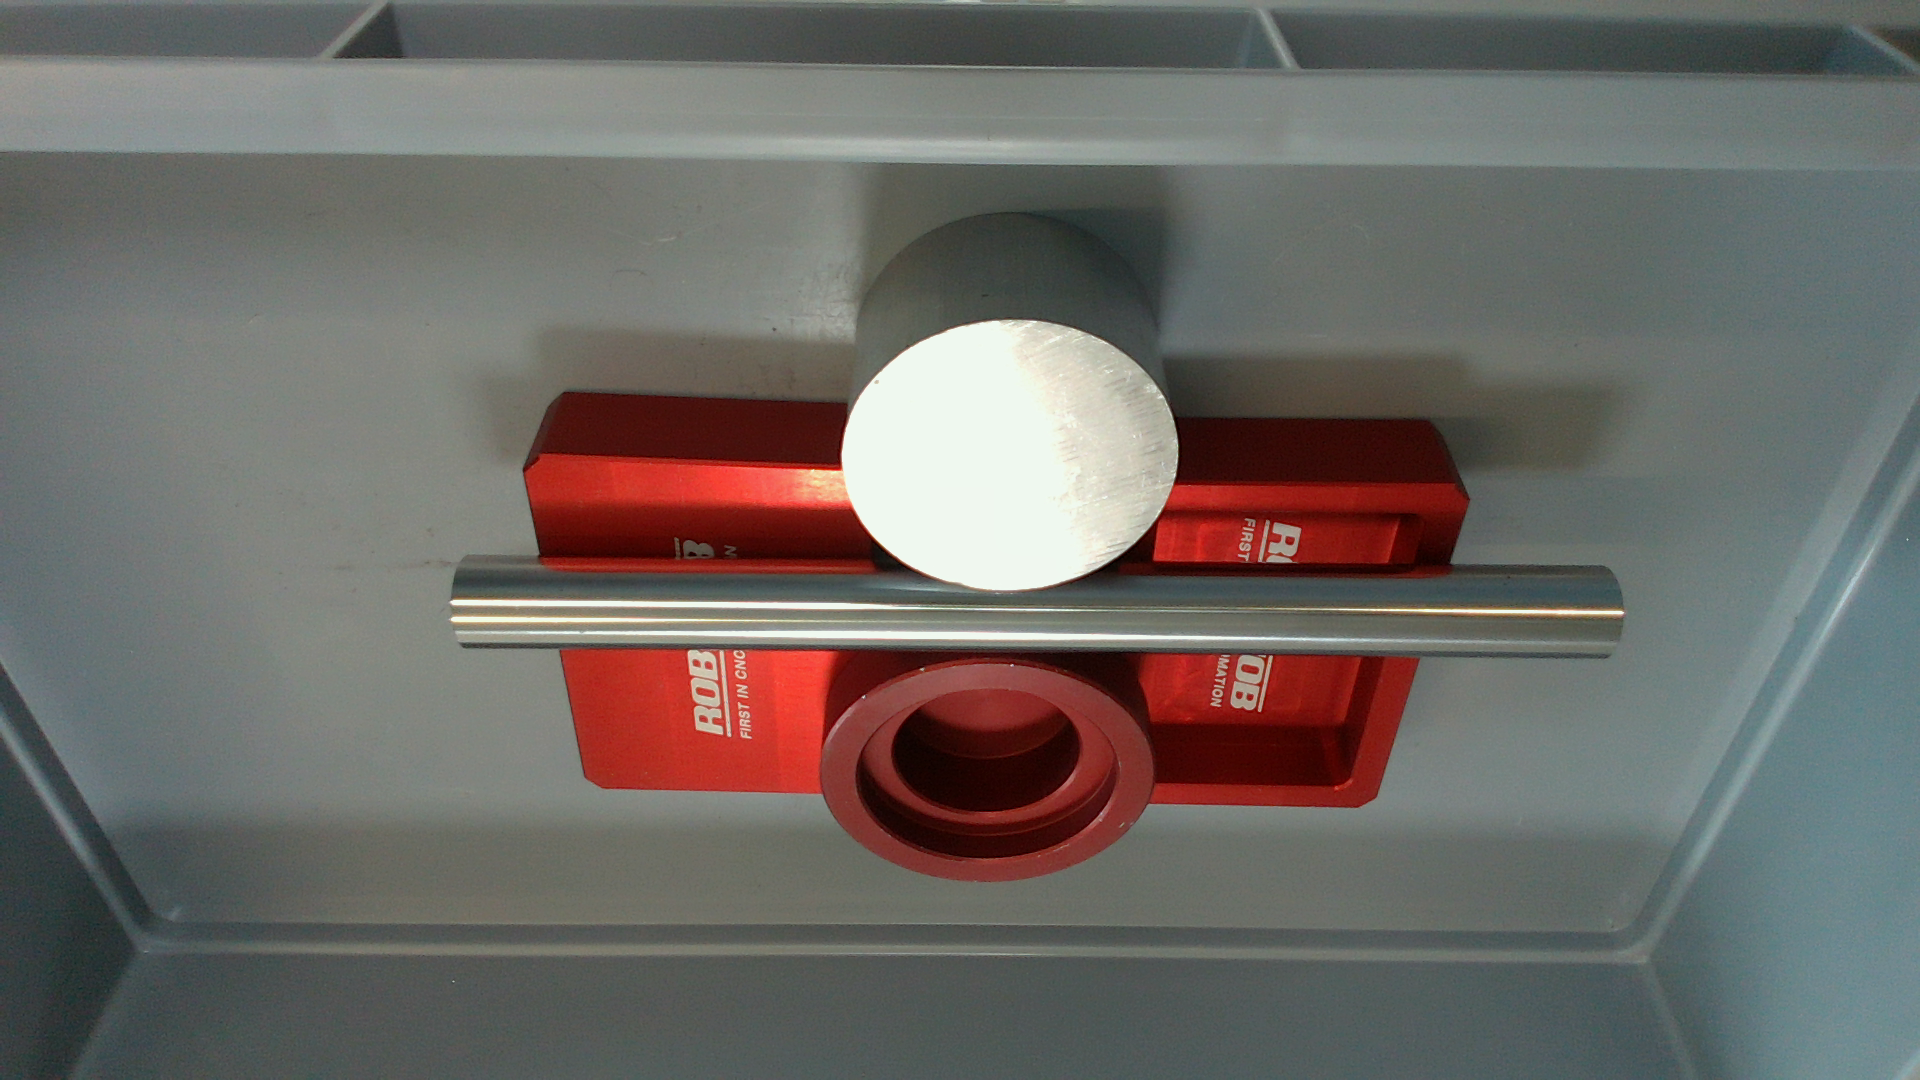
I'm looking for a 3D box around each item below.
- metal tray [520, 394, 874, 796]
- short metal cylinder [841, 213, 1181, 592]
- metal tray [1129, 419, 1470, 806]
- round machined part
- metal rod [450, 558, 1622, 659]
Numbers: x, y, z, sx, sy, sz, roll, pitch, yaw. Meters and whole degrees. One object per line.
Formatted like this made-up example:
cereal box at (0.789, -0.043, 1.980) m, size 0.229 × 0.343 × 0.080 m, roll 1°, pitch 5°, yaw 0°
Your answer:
metal tray at (-0.070, 0.021, 0.401) m, size 0.090 × 0.030 × 0.130 m, roll 2°, pitch 130°, yaw -2°
short metal cylinder at (0.012, -0.034, 0.344) m, size 0.080 × 0.050 × 0.080 m, roll 0°, pitch 130°, yaw 0°
metal tray at (0.088, 0.026, 0.407) m, size 0.090 × 0.030 × 0.130 m, roll 0°, pitch 130°, yaw -1°
round machined part at (0.008, 0.056, 0.414) m, size 0.098 × 0.042 × 0.098 m, roll 0°, pitch 130°, yaw 0°
metal rod at (0.020, 0.018, 0.364) m, size 0.300 × 0.025 × 0.025 m, roll 0°, pitch 130°, yaw -1°
